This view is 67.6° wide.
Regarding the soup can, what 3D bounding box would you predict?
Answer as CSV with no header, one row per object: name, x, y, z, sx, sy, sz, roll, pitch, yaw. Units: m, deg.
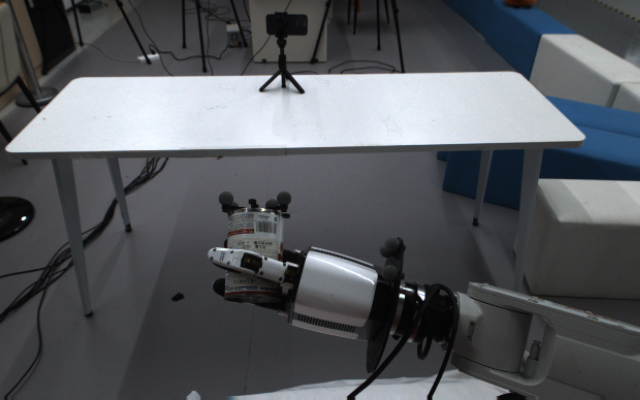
soup can,-0.076,0.068,0.569,0.067,0.067,0.101,1,73,-2
